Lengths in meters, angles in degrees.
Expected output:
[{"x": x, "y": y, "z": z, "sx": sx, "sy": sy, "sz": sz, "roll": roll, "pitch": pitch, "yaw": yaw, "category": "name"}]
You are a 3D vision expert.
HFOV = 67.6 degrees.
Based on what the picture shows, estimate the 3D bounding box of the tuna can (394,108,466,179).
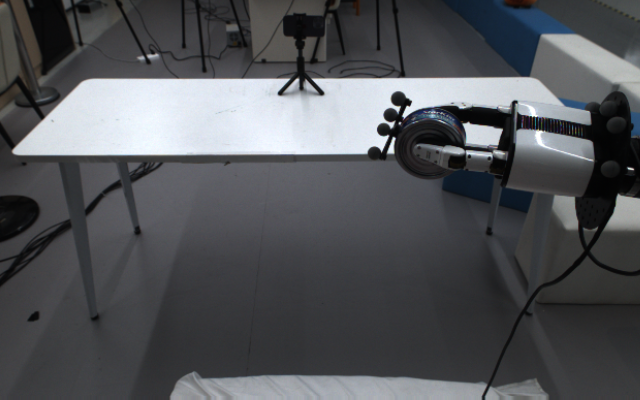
[{"x": 0.137, "y": -0.071, "z": 0.600, "sx": 0.085, "sy": 0.085, "sz": 0.034, "roll": 9, "pitch": 35, "yaw": 10, "category": "tuna can"}]
